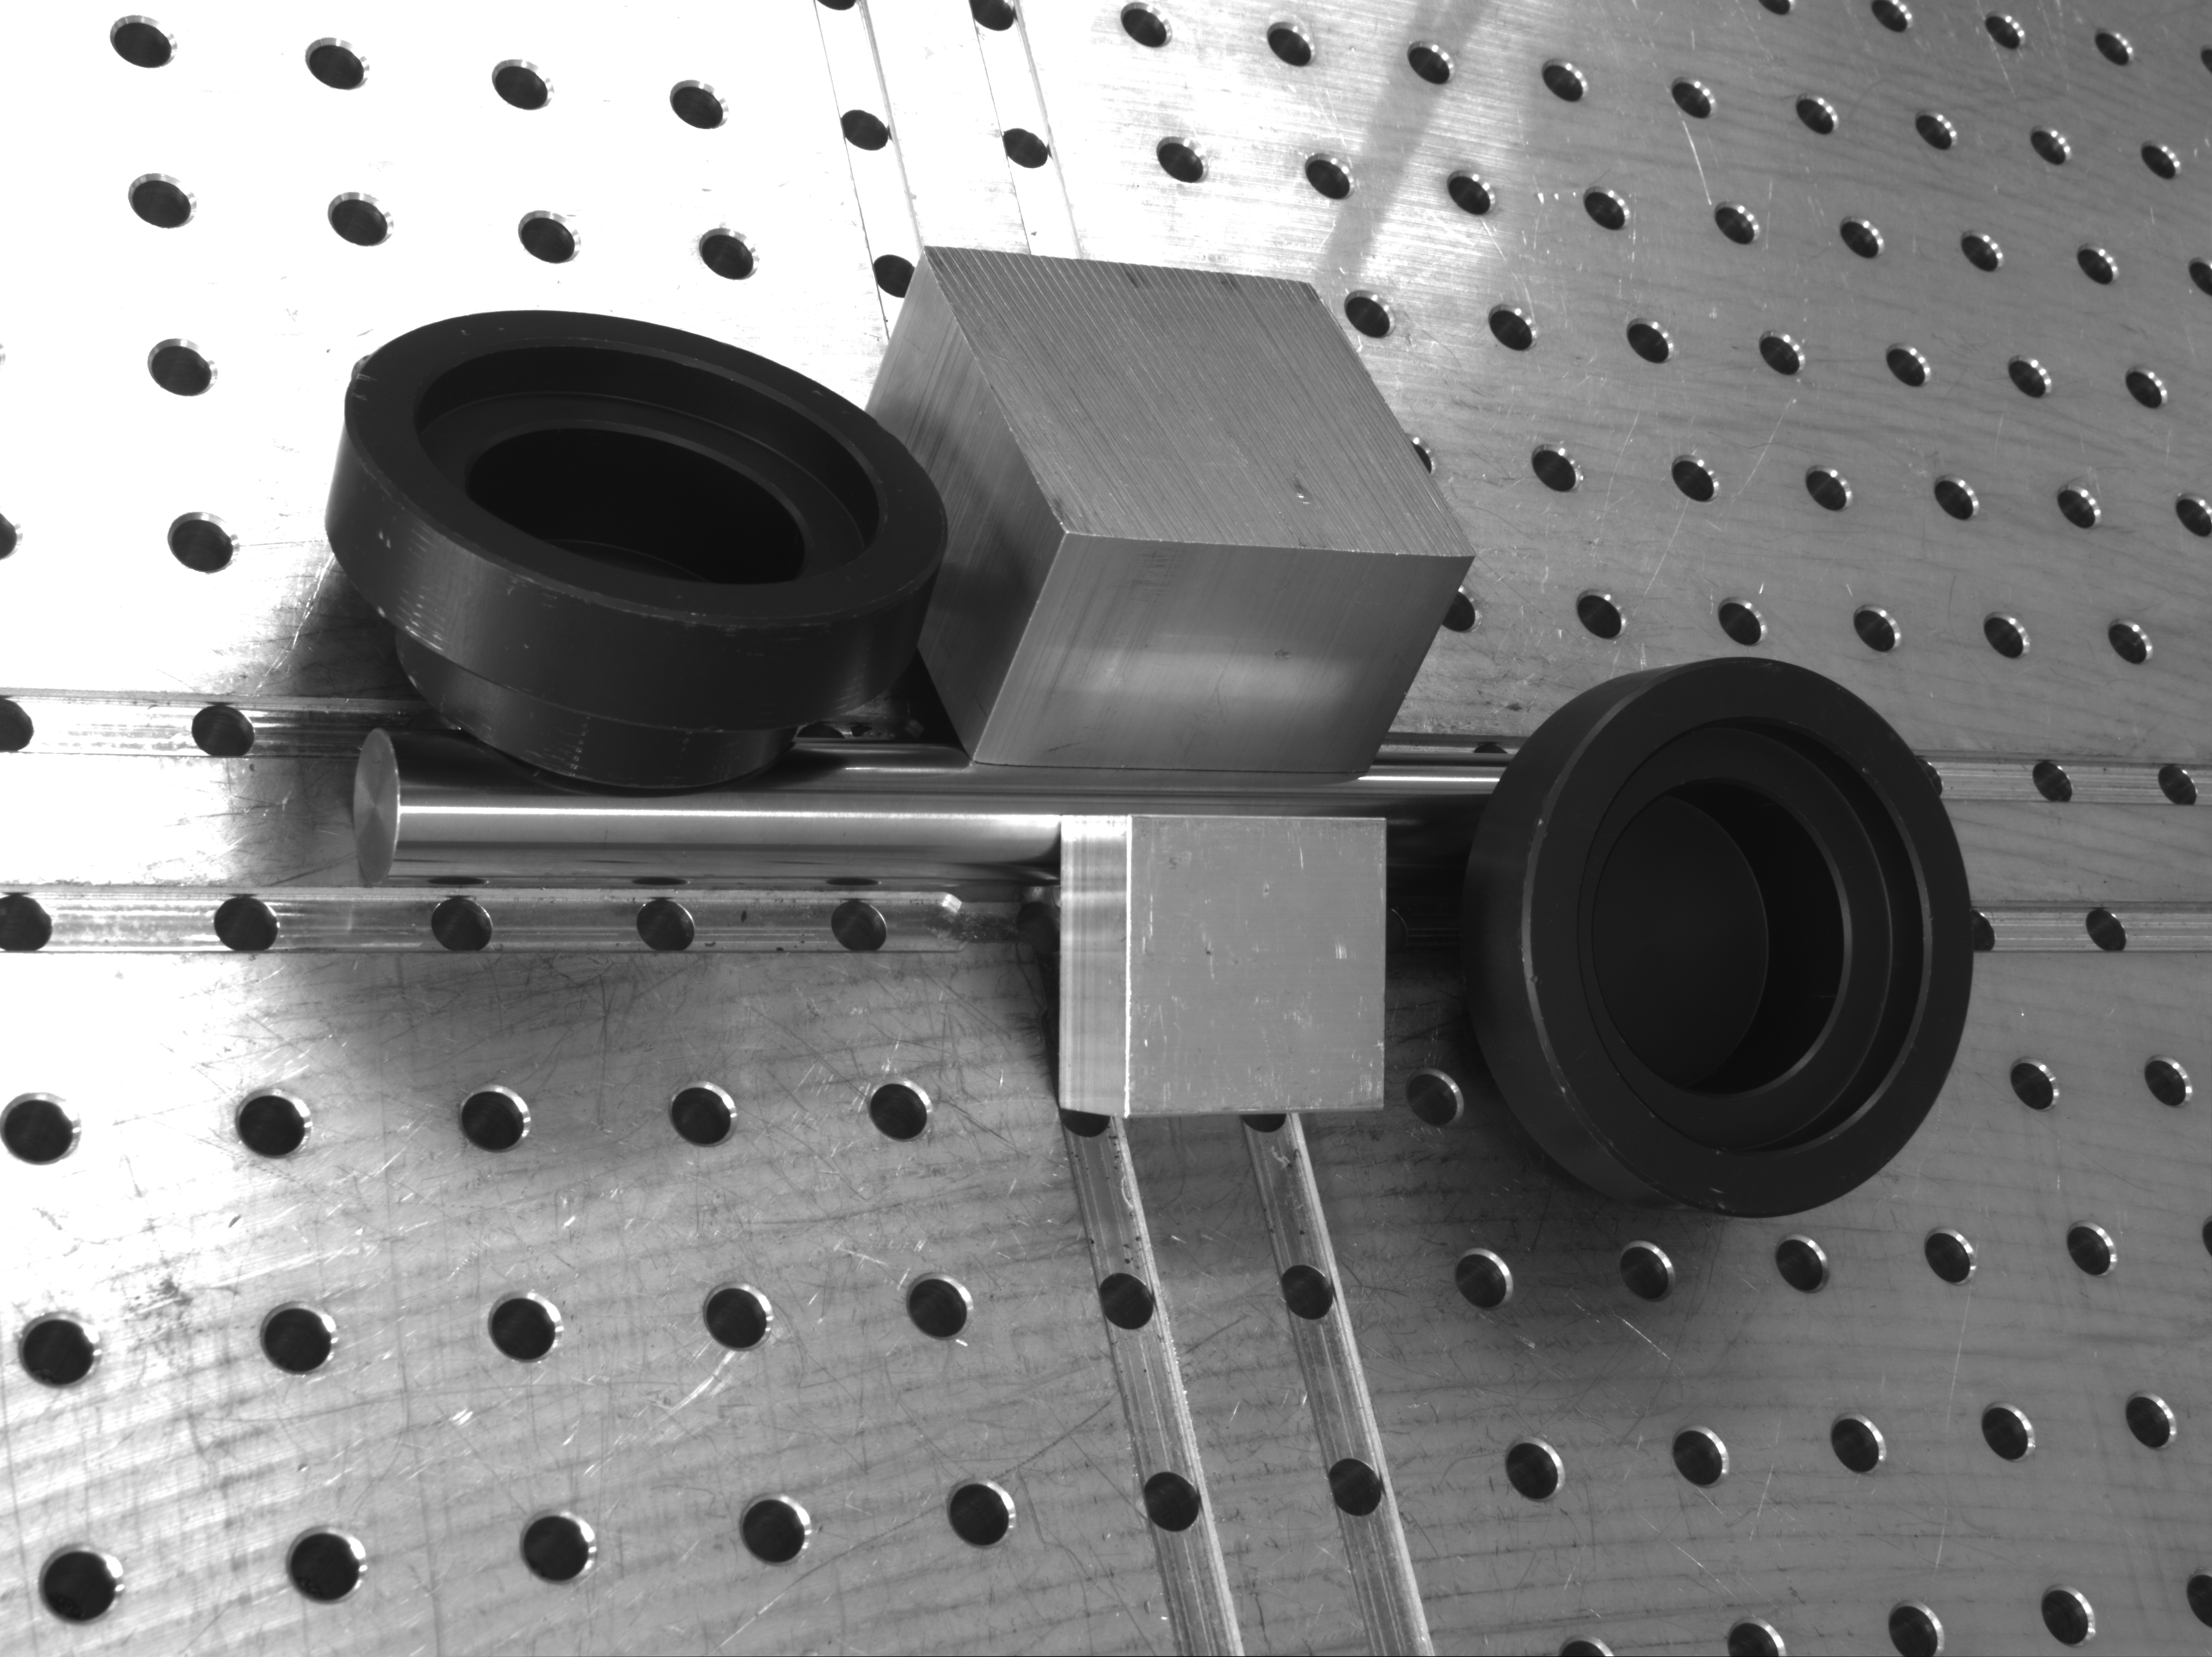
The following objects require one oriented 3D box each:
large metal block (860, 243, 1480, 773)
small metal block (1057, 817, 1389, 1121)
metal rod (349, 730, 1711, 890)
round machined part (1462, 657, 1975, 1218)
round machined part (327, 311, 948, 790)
[{"bbox_3d":[0.007,-0.056,0.650,0.080,0.050,0.080,1,43,-28],"label":"large metal block"},{"bbox_3d":[0.020,0.023,0.626,0.050,0.025,0.050,1,90,-28],"label":"small metal block"},{"bbox_3d":[0.016,-0.002,0.653,0.301,0.025,0.025,1,61,-28],"label":"metal rod"},{"bbox_3d":[0.105,0.020,0.660,0.098,0.042,0.098,2,86,-28],"label":"round machined part"},{"bbox_3d":[-0.078,-0.042,0.599,0.098,0.042,0.098,14,31,-8],"label":"round machined part"}]
